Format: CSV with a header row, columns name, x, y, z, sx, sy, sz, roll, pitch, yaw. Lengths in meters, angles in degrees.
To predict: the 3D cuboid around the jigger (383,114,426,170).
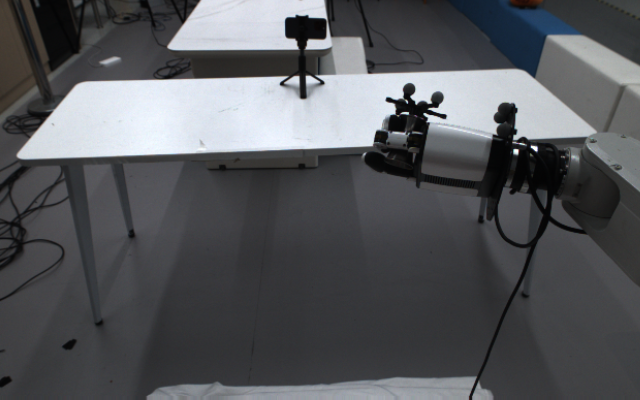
name,x,y,z,sx,sy,sz,roll,pitch,yaw
jigger,0.121,-0.083,0.682,0.043,0.071,0.043,19,-6,2
